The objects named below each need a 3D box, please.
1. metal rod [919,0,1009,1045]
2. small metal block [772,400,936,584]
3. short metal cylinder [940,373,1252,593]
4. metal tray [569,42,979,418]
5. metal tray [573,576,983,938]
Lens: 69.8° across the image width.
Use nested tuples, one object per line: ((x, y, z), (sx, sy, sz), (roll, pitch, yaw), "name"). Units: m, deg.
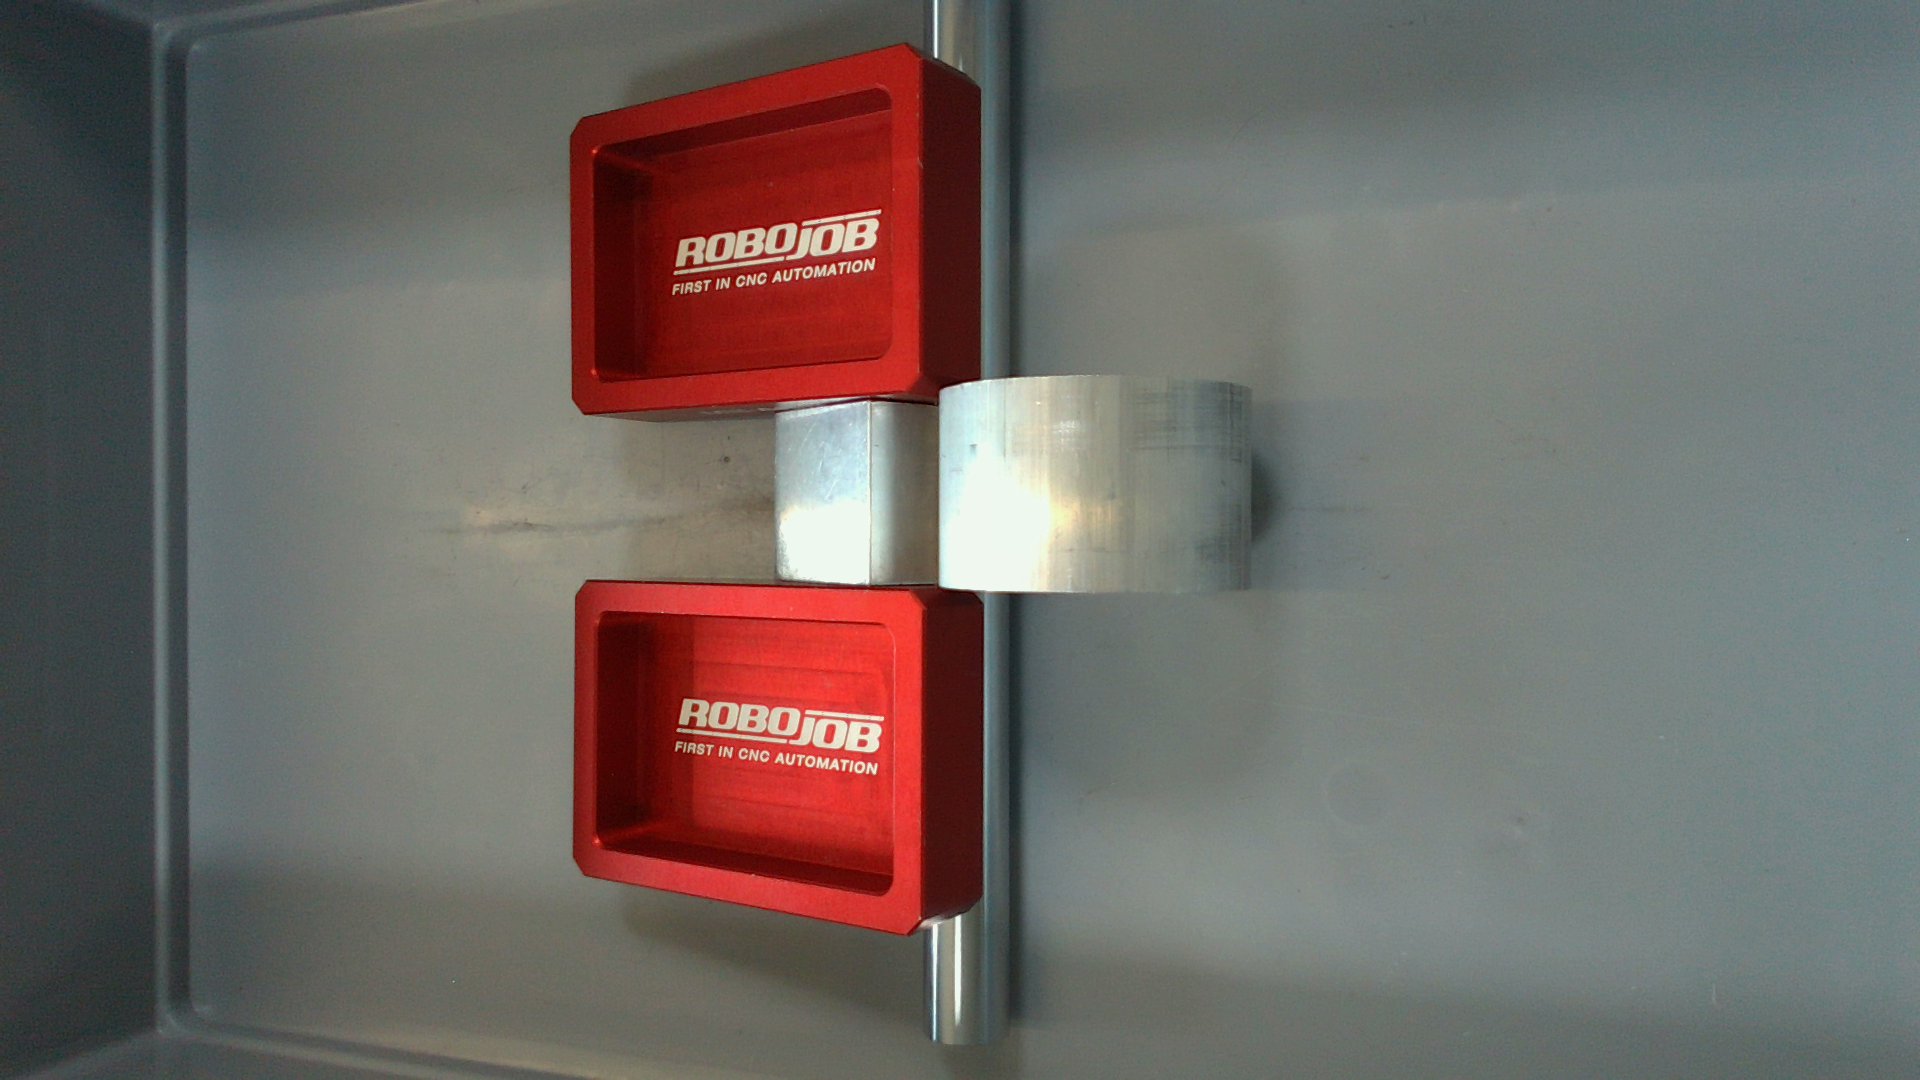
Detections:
((0.001, -0.010, 0.394), (0.025, 0.025, 0.300), (0, 90, 20), "metal rod")
((-0.030, -0.013, 0.394), (0.050, 0.025, 0.050), (1, 91, 51), "small metal block")
((0.034, -0.013, 0.353), (0.080, 0.080, 0.050), (0, 90, 20), "short metal cylinder")
((-0.057, -0.083, 0.398), (0.129, 0.030, 0.090), (0, 90, 32), "metal tray")
((-0.056, 0.057, 0.398), (0.129, 0.030, 0.090), (0, 90, 32), "metal tray")
